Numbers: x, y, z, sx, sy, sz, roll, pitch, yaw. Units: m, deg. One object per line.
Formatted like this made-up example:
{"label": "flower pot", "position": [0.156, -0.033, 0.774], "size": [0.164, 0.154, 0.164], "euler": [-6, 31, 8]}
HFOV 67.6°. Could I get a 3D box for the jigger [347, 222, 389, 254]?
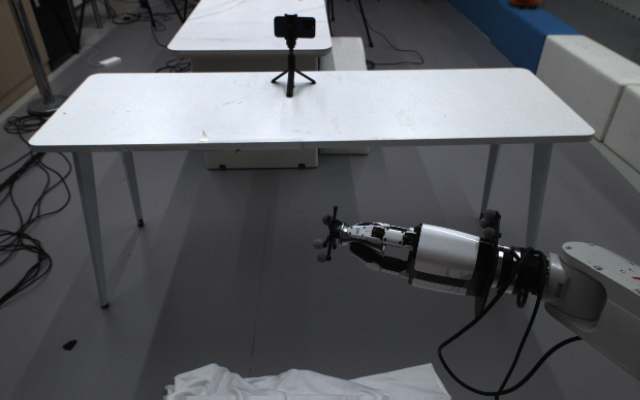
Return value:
{"label": "jigger", "position": [0.074, 0.055, 0.750], "size": [0.071, 0.043, 0.043], "euler": [7, 35, 16]}
